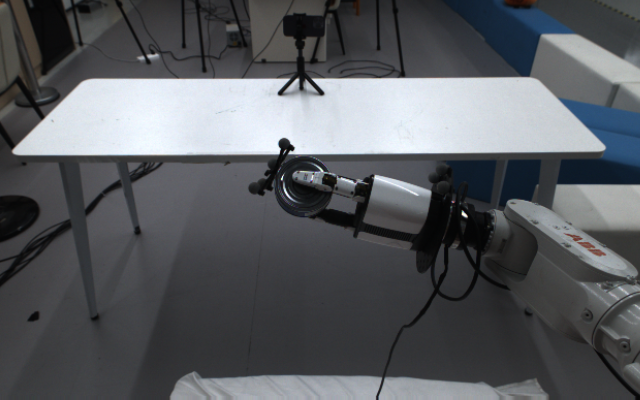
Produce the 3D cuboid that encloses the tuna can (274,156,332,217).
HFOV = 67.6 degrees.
[{"bbox_3d":[-0.020,-0.016,0.694,0.085,0.034,0.085,1,76,-5],"label":"tuna can"}]
